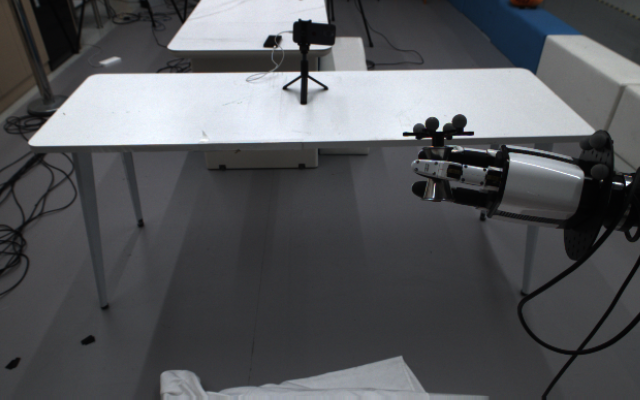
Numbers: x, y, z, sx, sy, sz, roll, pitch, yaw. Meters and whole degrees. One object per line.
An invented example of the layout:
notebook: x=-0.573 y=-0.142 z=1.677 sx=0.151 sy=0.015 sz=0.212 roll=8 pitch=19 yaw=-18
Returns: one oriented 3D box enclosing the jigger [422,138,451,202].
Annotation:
jigger: x=0.152 y=-0.035 z=0.628 sx=0.043 sy=0.071 sz=0.043 roll=-1 pitch=2 yaw=0
